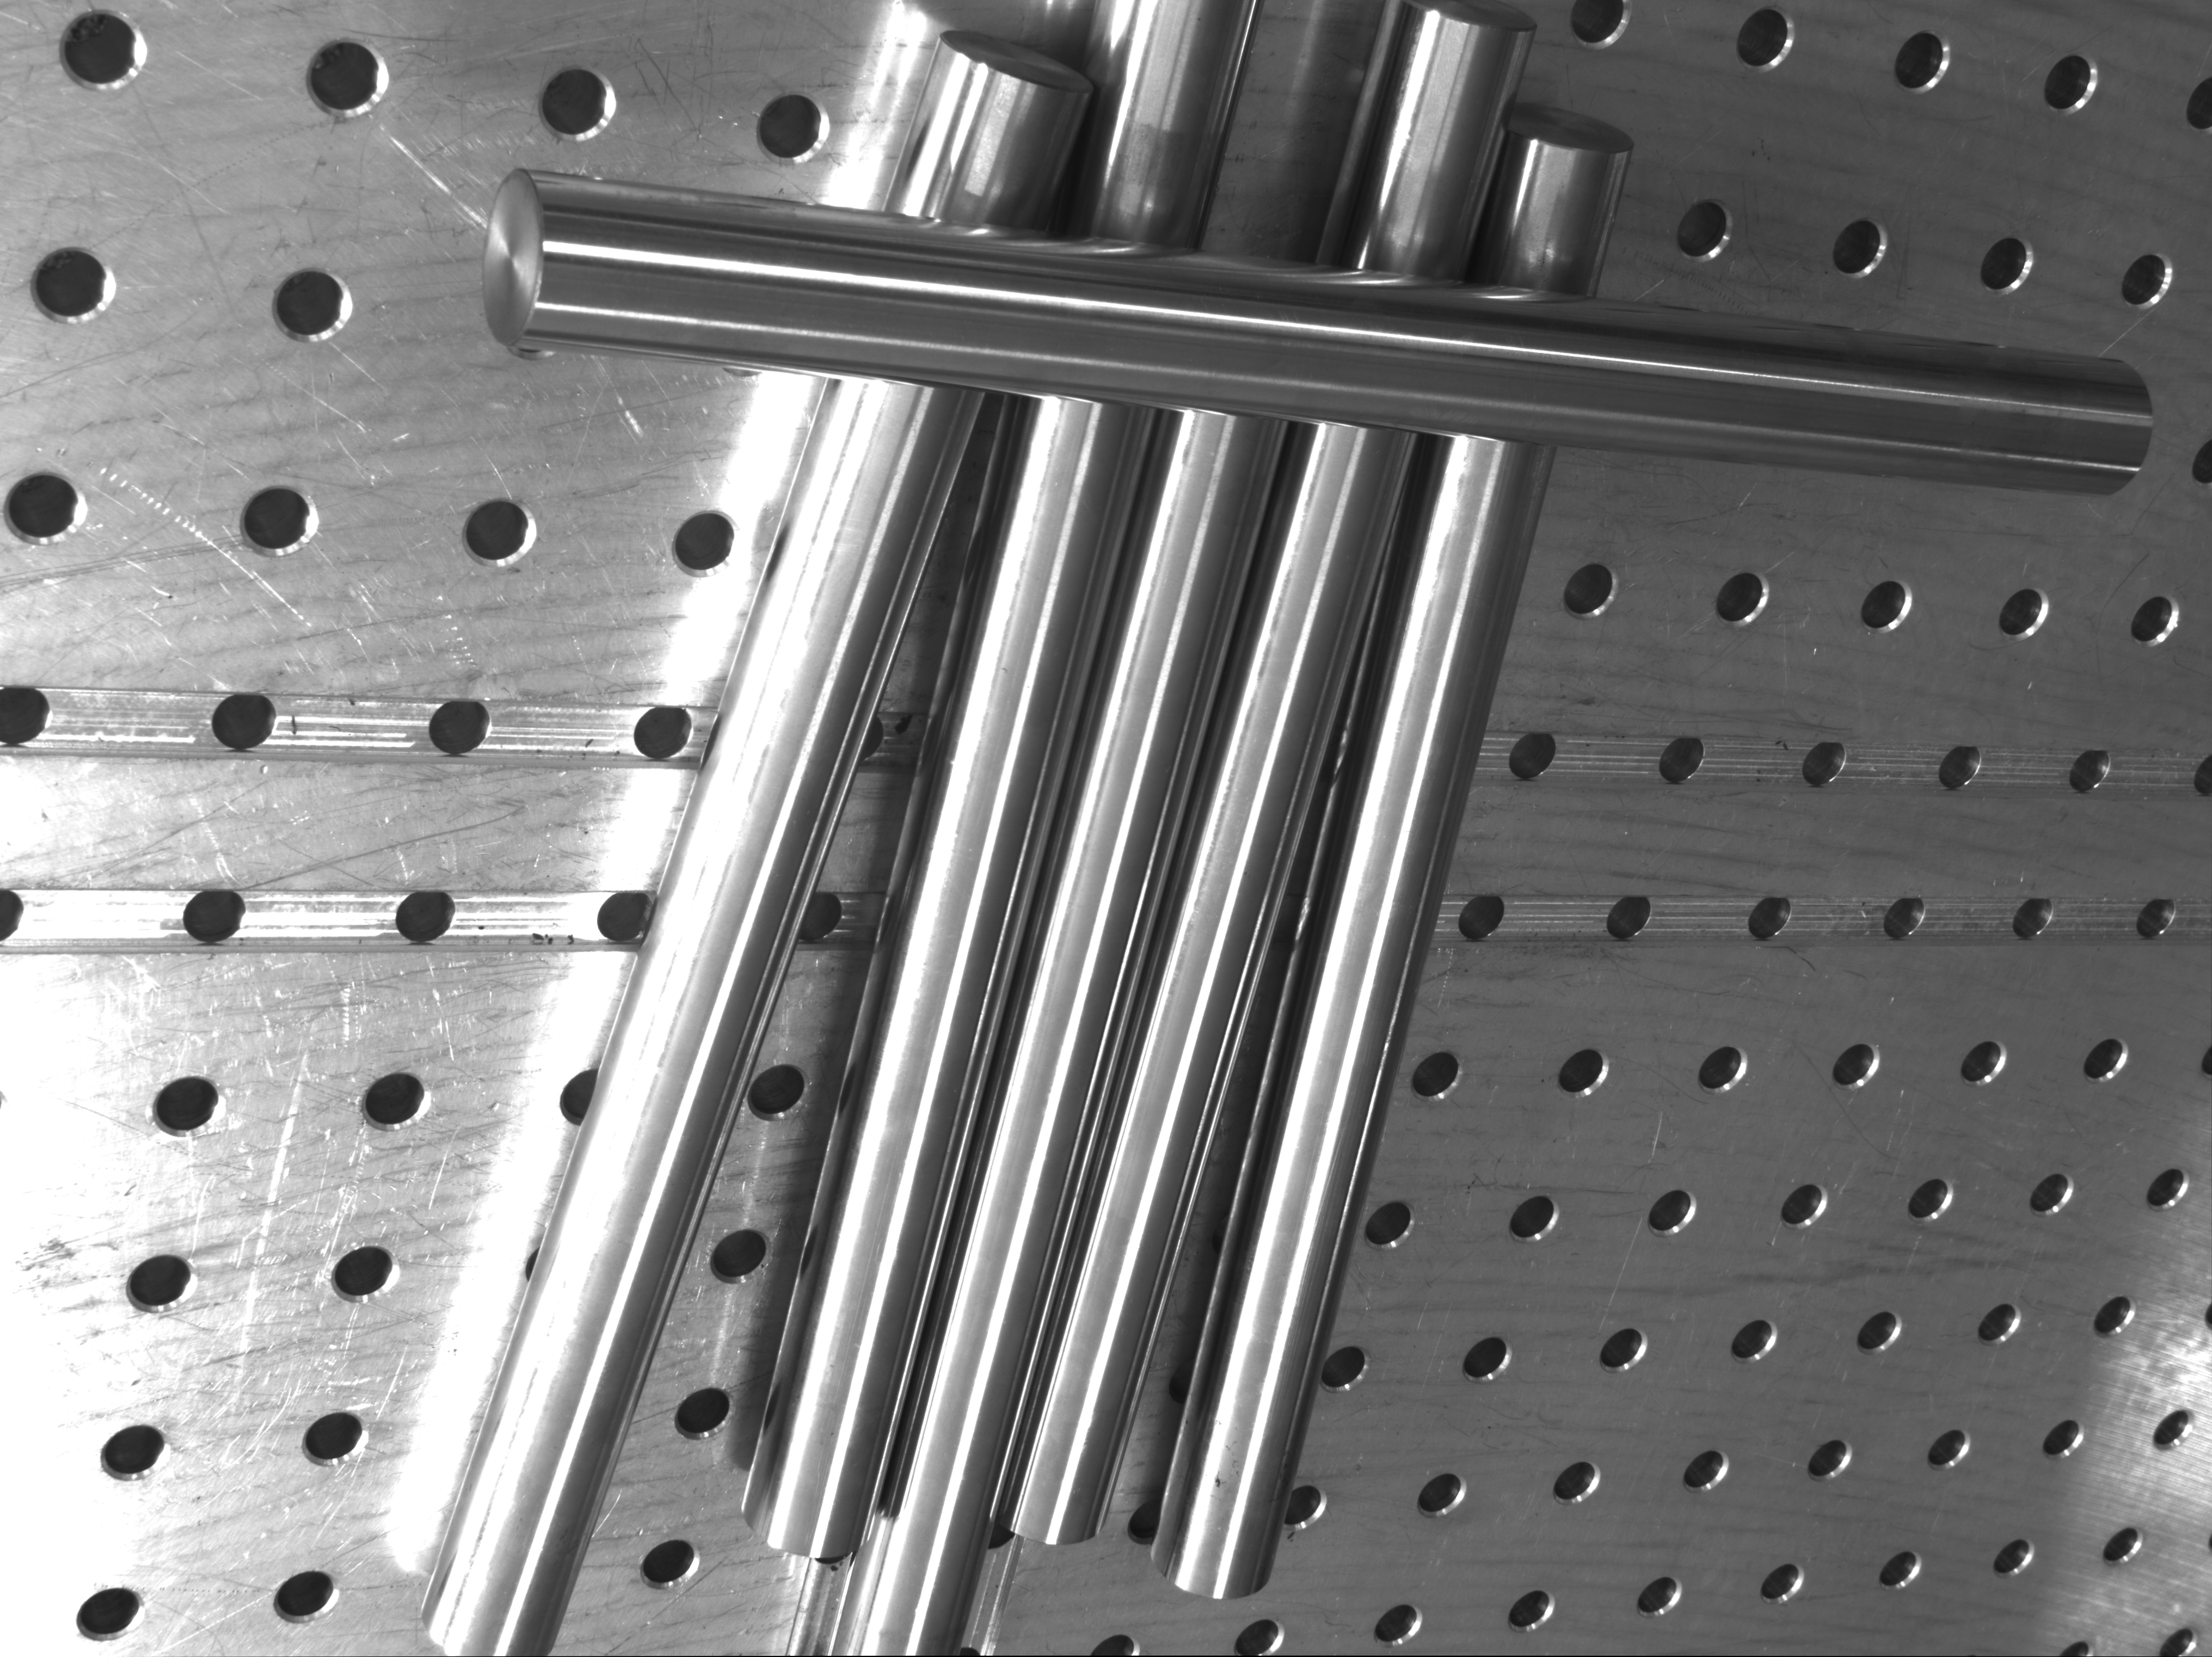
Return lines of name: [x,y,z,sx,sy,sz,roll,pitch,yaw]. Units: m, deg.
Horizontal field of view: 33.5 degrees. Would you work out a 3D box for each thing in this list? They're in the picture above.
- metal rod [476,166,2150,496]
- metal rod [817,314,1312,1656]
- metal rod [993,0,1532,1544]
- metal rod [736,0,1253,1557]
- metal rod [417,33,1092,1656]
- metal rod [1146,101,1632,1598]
metal rod: [0.047,-0.076,0.588,0.301,0.025,0.025,2,117,-29]
metal rod: [-0.013,0.046,0.662,0.025,0.025,0.300,1,118,-28]
metal rod: [0.022,-0.001,0.653,0.025,0.025,0.300,1,118,-28]
metal rod: [-0.023,-0.003,0.627,0.025,0.025,0.300,0,118,-28]
metal rod: [-0.063,0.014,0.614,0.025,0.025,0.300,7,114,-31]
metal rod: [0.048,0.015,0.676,0.025,0.025,0.300,-2,119,-27]
